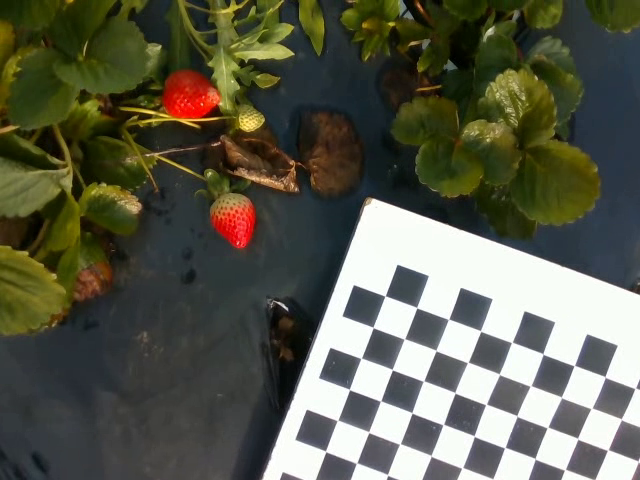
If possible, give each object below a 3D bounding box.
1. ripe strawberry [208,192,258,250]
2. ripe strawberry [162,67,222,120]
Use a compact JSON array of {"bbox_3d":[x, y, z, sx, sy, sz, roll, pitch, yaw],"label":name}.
[{"bbox_3d":[-0.061,-0.013,0.462,0.035,0.043,0.030,-18,1,0],"label":"ripe strawberry"},{"bbox_3d":[-0.087,-0.100,0.452,0.048,0.040,0.031,9,6,41],"label":"ripe strawberry"}]
